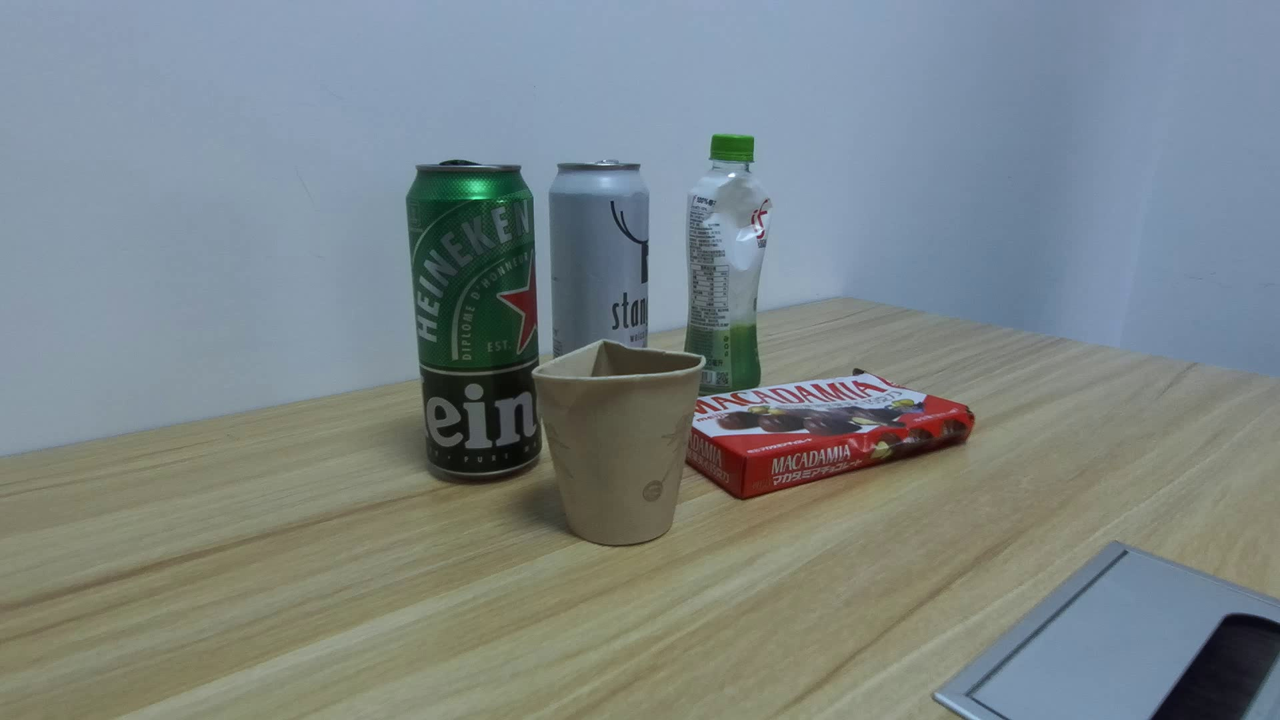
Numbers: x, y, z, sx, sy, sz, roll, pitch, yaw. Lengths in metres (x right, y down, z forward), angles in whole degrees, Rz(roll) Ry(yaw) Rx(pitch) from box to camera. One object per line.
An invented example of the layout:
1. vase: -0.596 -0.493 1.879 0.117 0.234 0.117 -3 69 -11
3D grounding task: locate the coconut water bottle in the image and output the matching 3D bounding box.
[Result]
1. coconut water bottle: 0.064 -0.070 0.525 0.069 0.187 0.069 2 15 0

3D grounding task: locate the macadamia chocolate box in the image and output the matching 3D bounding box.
1. macadamia chocolate box: 0.111 0.040 0.445 0.184 0.028 0.105 -8 18 -29

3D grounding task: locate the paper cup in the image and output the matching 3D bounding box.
1. paper cup: -0.009 0.040 0.336 0.071 0.084 0.066 8 17 29

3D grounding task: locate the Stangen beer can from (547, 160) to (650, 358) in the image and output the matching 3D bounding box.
1. Stangen beer can: -0.027 -0.046 0.482 0.067 0.171 0.067 1 13 0

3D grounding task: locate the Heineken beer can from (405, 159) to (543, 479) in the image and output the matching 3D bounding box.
1. Heineken beer can: -0.090 -0.020 0.394 0.067 0.169 0.067 0 16 0
